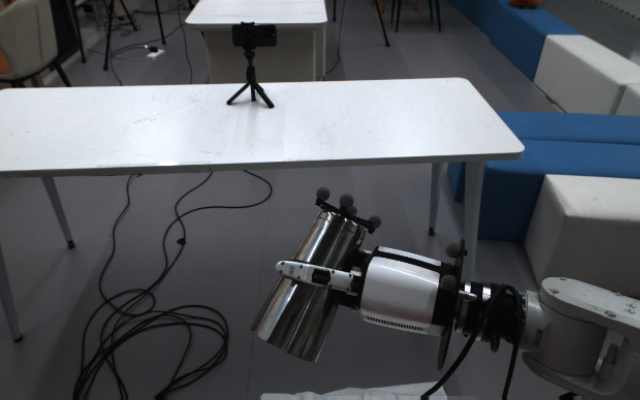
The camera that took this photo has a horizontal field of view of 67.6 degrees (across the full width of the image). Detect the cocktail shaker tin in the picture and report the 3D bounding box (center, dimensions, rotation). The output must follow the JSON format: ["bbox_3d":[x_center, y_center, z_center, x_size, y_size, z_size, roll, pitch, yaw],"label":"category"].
[{"bbox_3d":[-0.005,0.101,0.607,0.093,0.093,0.170,21,81,25],"label":"cocktail shaker tin"}]
